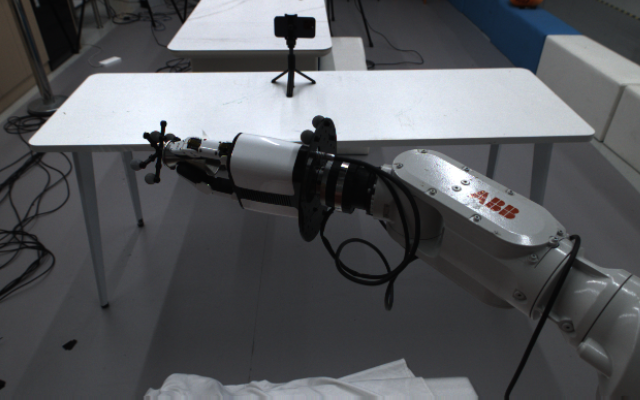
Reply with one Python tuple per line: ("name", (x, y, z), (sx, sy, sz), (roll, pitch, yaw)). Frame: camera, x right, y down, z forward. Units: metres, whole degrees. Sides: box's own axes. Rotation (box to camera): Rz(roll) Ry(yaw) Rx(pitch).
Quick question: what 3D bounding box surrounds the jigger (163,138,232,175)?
("jigger", (-0.172, -0.063, 0.668), (0.071, 0.043, 0.043), (10, 35, 16))
